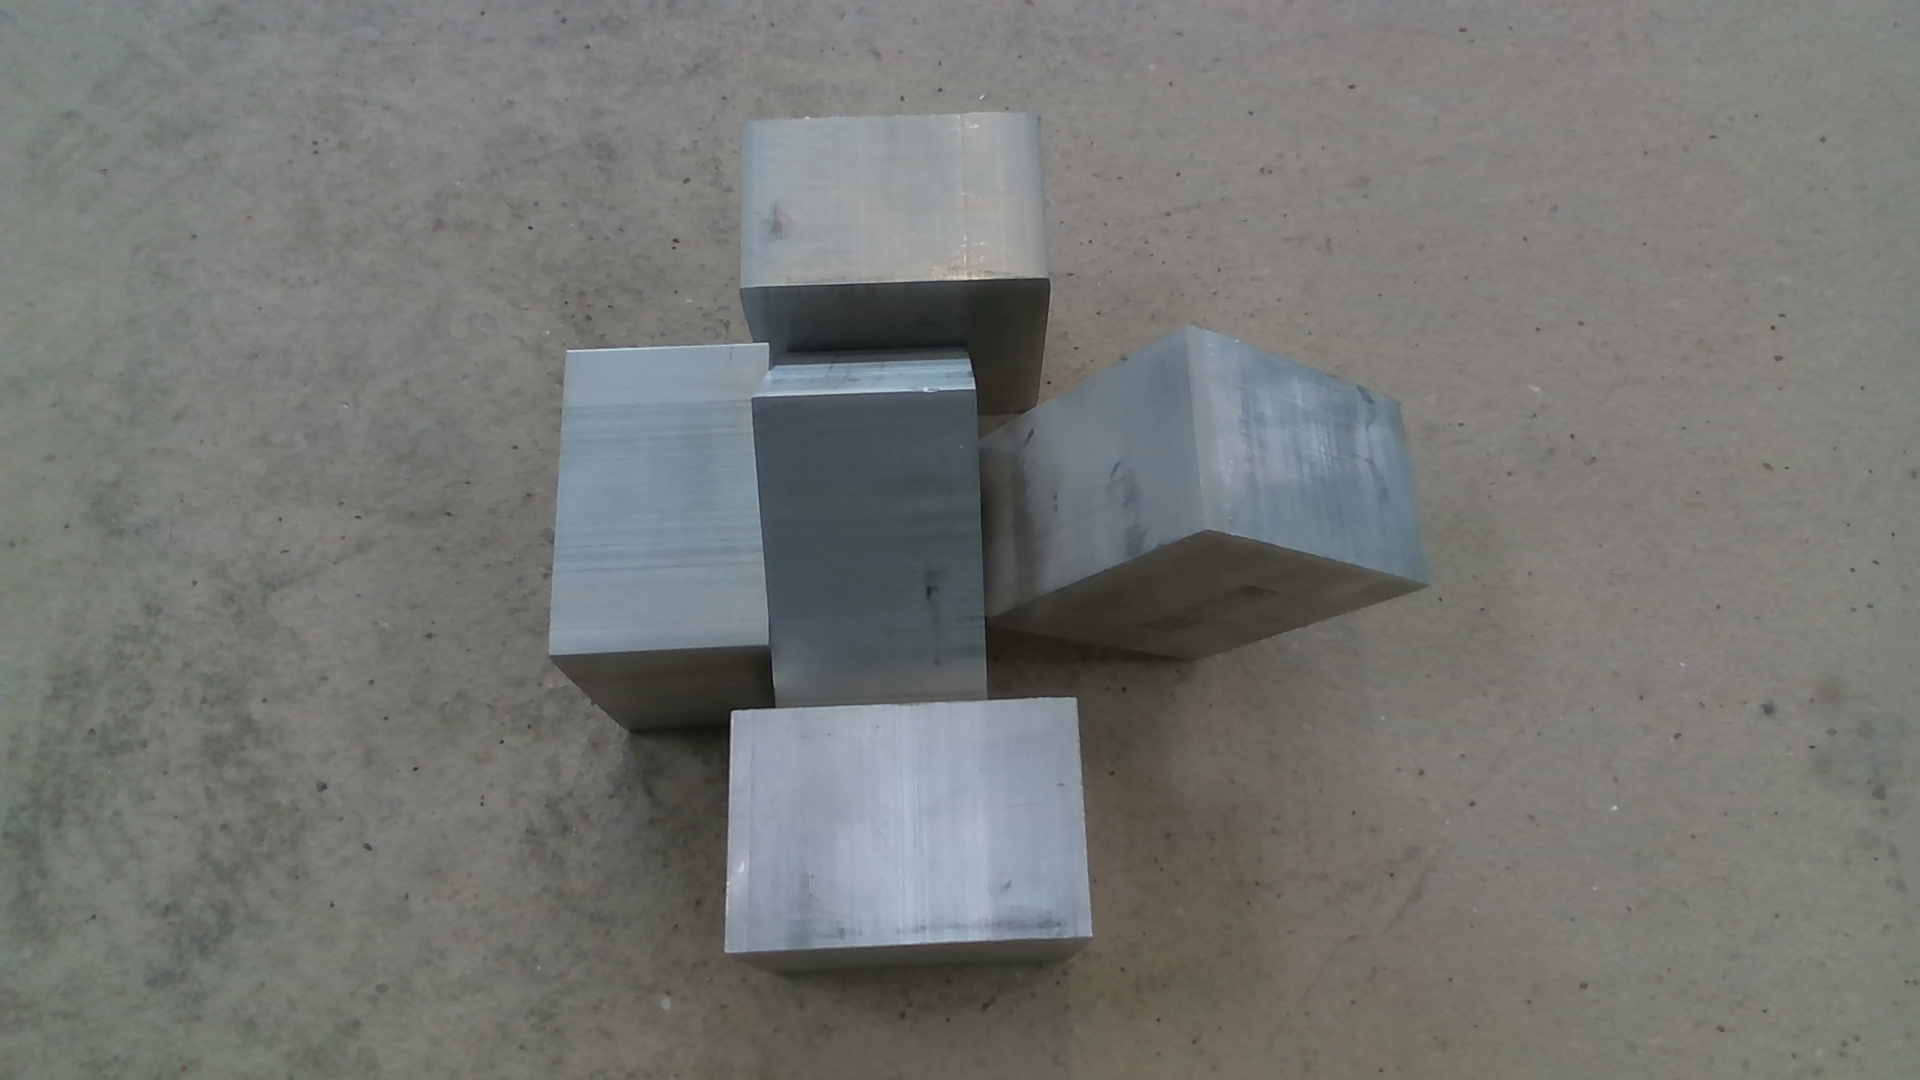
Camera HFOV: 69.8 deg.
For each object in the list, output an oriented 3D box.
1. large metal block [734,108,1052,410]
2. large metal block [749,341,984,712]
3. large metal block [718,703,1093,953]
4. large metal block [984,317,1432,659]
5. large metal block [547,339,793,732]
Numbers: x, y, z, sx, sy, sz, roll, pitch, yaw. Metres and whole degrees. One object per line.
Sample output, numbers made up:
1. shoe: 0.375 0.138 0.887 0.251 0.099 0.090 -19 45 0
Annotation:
1. large metal block: -0.018 -0.076 0.392 0.080 0.080 0.050 -2 71 -1
2. large metal block: -0.022 -0.005 0.353 0.050 0.080 0.080 -2 106 -1
3. large metal block: -0.013 0.075 0.340 0.080 0.080 0.050 -2 71 -2
4. large metal block: 0.059 -0.008 0.353 0.080 0.080 0.050 12 65 -36
5. large metal block: -0.071 0.002 0.366 0.050 0.080 0.080 -3 70 -1
